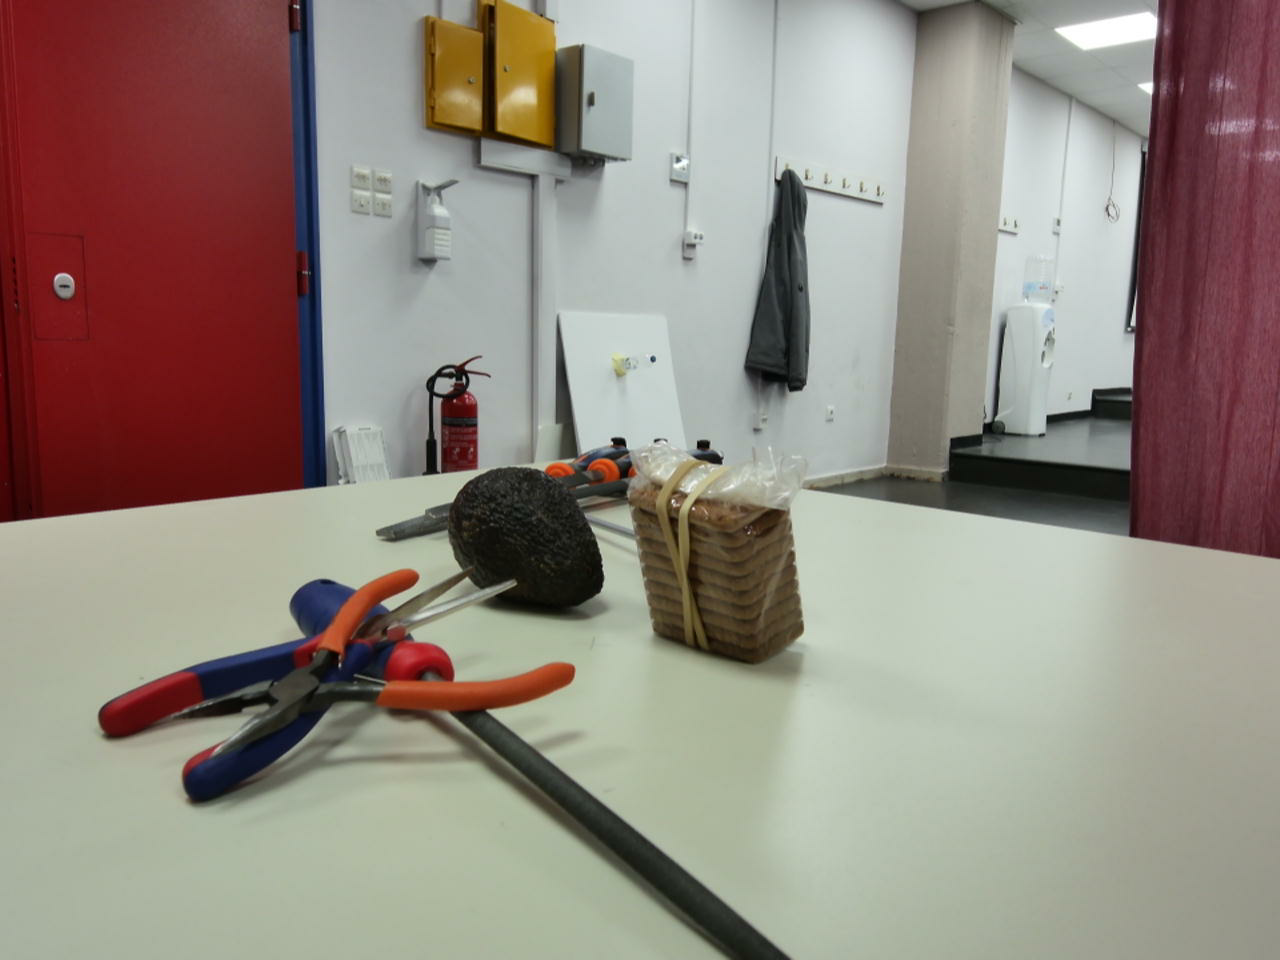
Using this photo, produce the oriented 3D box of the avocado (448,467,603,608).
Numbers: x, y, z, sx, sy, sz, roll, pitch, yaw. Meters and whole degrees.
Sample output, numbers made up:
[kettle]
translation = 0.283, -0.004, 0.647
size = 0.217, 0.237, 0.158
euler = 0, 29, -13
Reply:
[avocado]
translation = -0.061, 0.029, 0.517
size = 0.070, 0.069, 0.090
euler = -2, 7, -23
